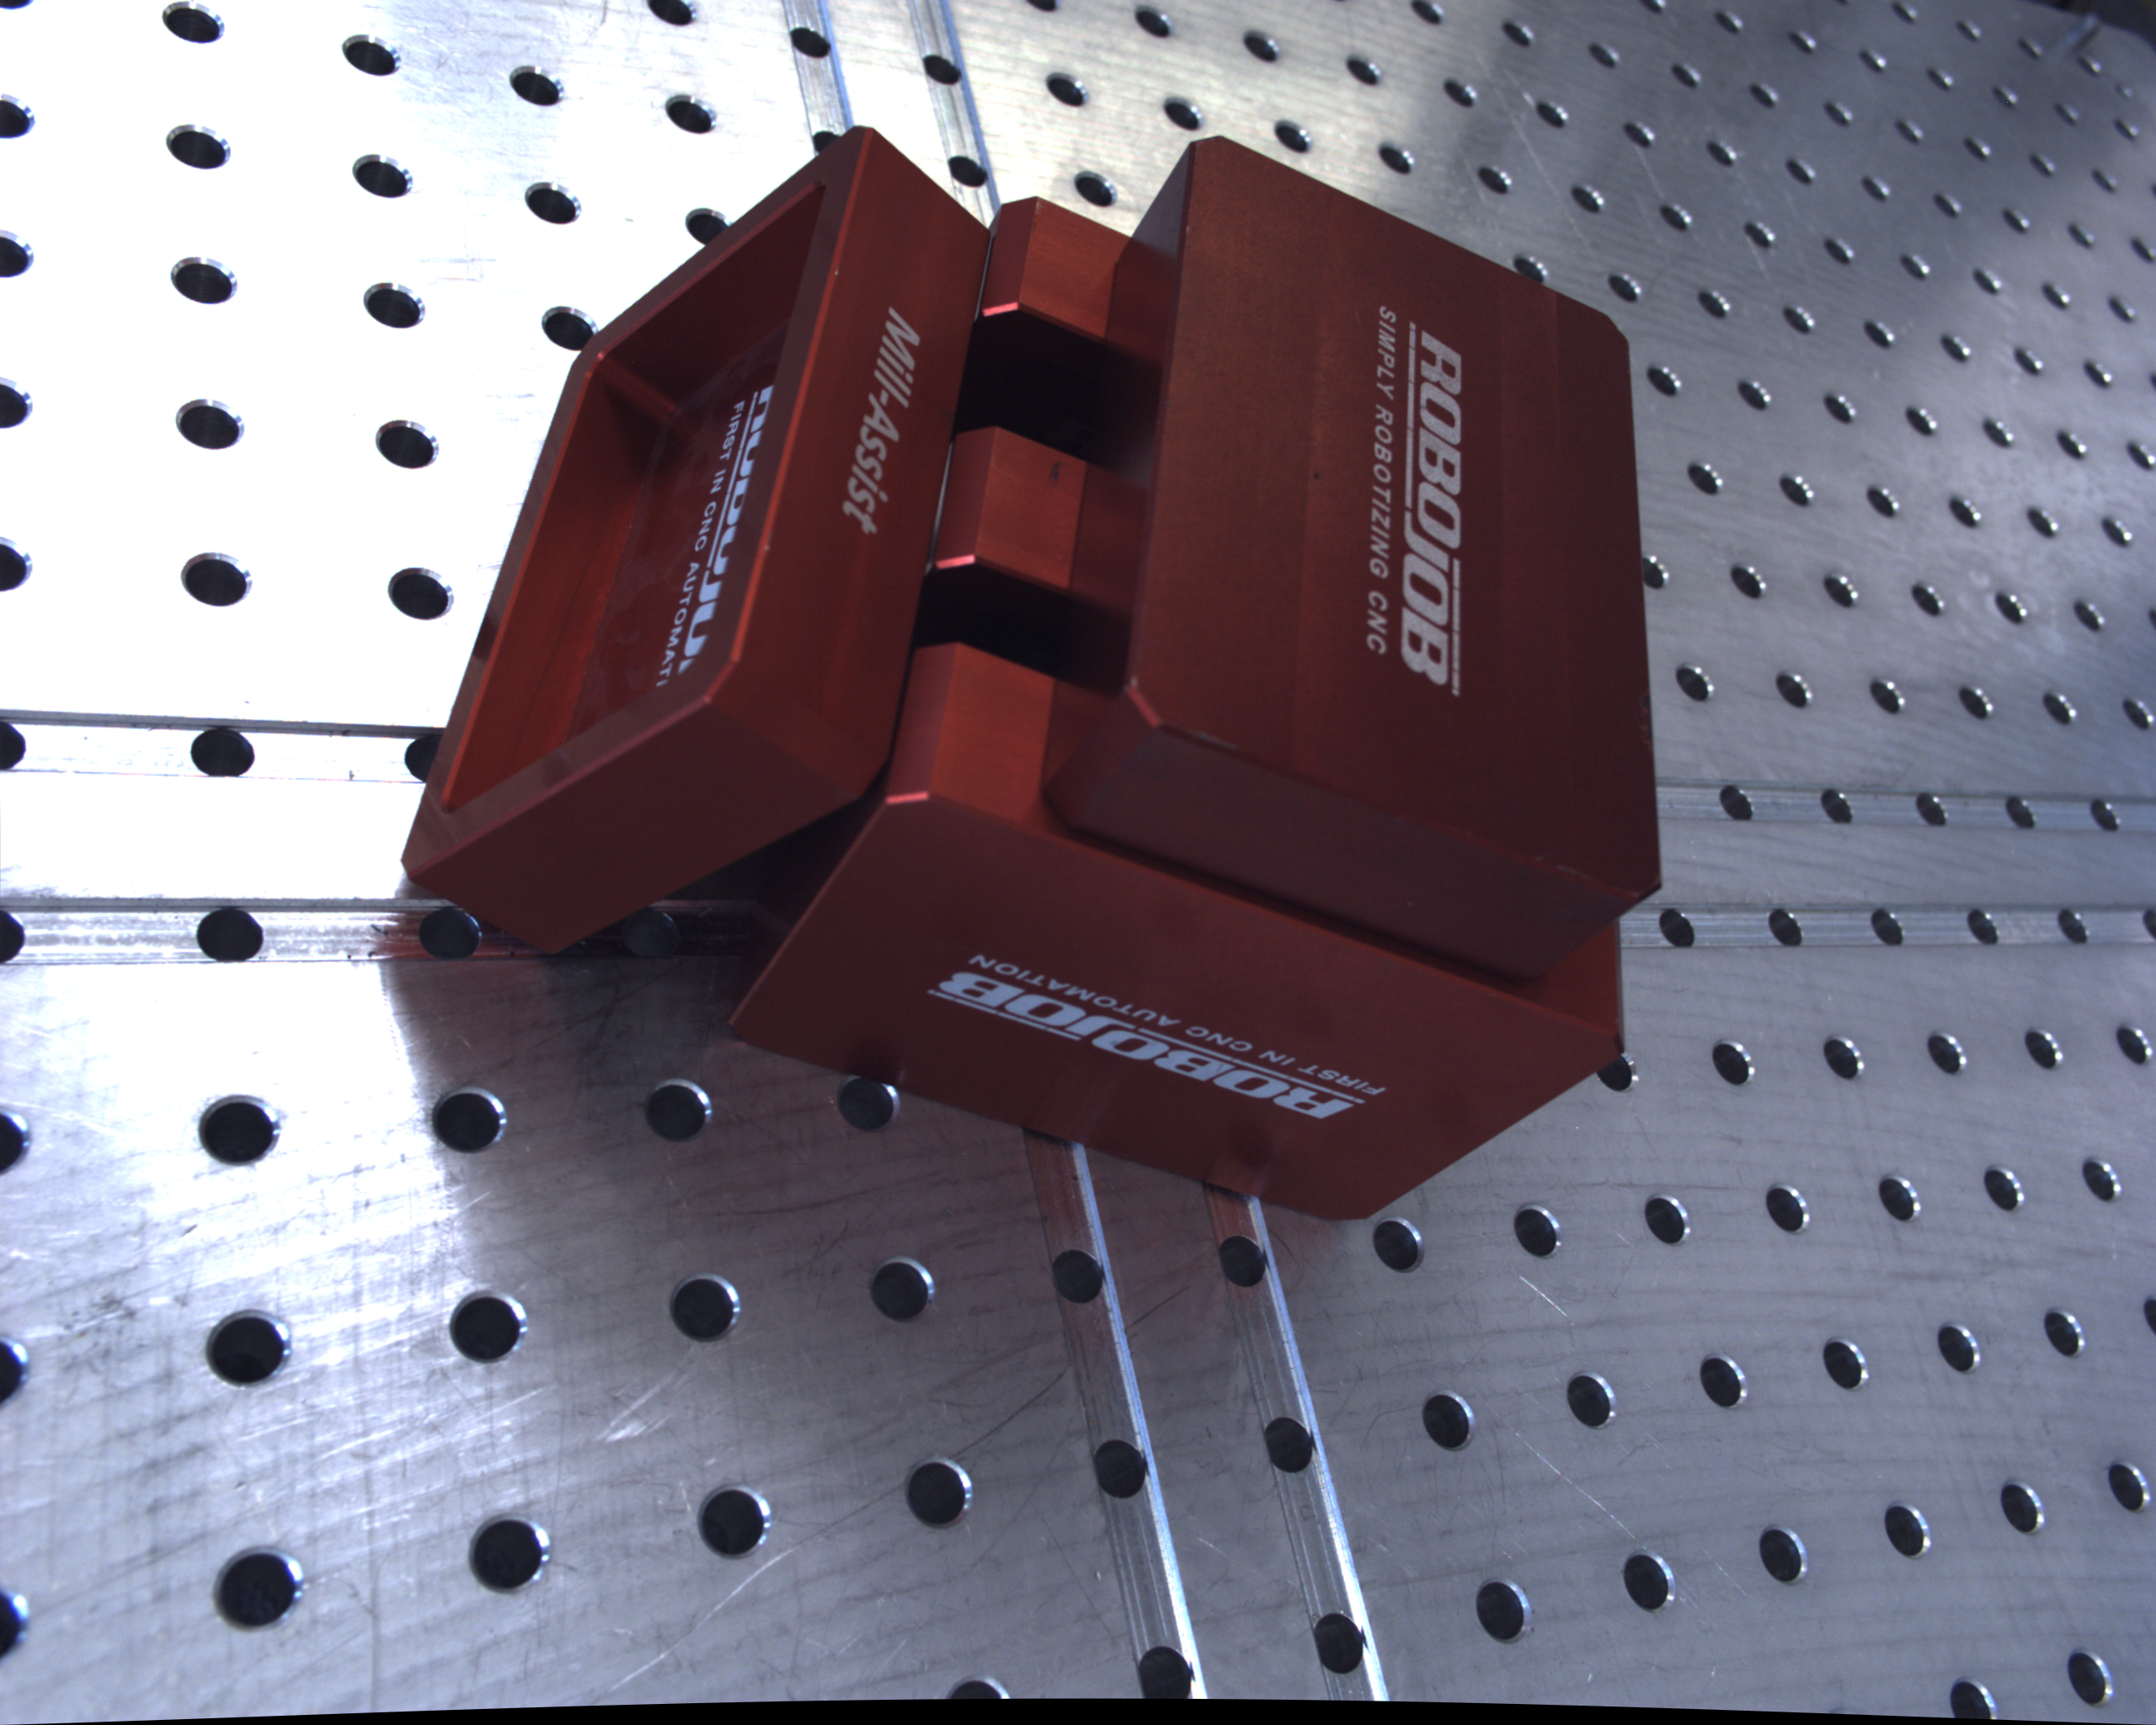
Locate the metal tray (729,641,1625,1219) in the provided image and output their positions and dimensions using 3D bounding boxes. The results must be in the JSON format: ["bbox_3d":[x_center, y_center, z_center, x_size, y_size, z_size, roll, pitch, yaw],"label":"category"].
[{"bbox_3d":[0.016,0.018,0.363,0.131,0.090,0.030,19,55,-17],"label":"metal tray"}]

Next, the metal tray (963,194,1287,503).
[{"bbox_3d":[0.028,-0.070,0.422,0.131,0.090,0.030,19,55,-17],"label":"metal tray"}]

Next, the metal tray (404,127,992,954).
[{"bbox_3d":[-0.064,-0.057,0.363,0.030,0.090,0.130,35,47,-34],"label":"metal tray"}]

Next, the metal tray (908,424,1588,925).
[{"bbox_3d":[0.021,-0.021,0.389,0.131,0.090,0.030,19,53,-19],"label":"metal tray"}]

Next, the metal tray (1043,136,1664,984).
[{"bbox_3d":[0.048,-0.053,0.346,0.091,0.030,0.130,19,54,-17],"label":"metal tray"}]
